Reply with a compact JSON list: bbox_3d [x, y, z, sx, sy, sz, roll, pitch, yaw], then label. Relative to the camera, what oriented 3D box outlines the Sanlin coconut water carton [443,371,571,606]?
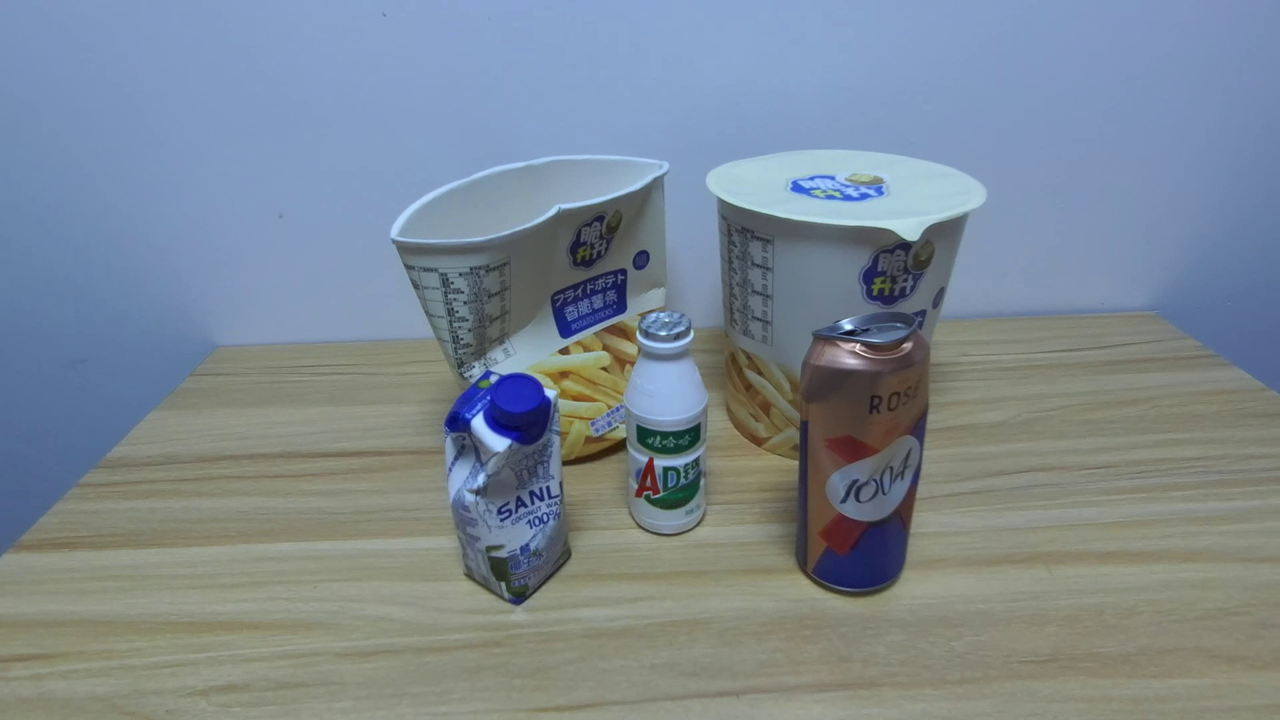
[{"bbox_3d":[-0.080,0.070,0.411,0.069,0.144,0.061,19,36,32],"label":"Sanlin coconut water carton"}]

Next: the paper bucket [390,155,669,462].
[{"bbox_3d":[-0.061,-0.041,0.544,0.147,0.199,0.218,5,31,12],"label":"paper bucket"}]

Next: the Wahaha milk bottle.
[{"bbox_3d":[0.017,0.042,0.446,0.053,0.147,0.053,-1,30,1],"label":"Wahaha milk bottle"}]

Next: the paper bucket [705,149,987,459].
[{"bbox_3d":[0.145,-0.043,0.545,0.198,0.195,0.198,-2,31,1],"label":"paper bucket"}]

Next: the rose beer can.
[{"bbox_3d":[0.127,0.055,0.403,0.069,0.168,0.069,3,27,15],"label":"rose beer can"}]
